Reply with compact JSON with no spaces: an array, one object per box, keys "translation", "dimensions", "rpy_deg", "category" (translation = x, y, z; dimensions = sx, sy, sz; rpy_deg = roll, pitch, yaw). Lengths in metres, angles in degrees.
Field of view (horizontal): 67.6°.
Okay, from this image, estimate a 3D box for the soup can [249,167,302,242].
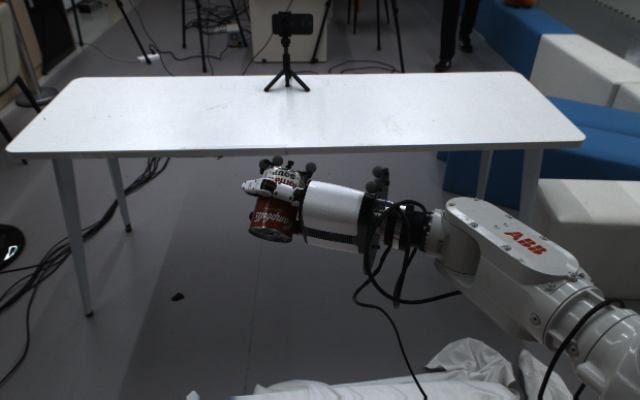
[{"translation":[-0.065,0.008,0.740],"dimensions":[0.067,0.067,0.101],"rpy_deg":[9,71,9],"category":"soup can"}]
